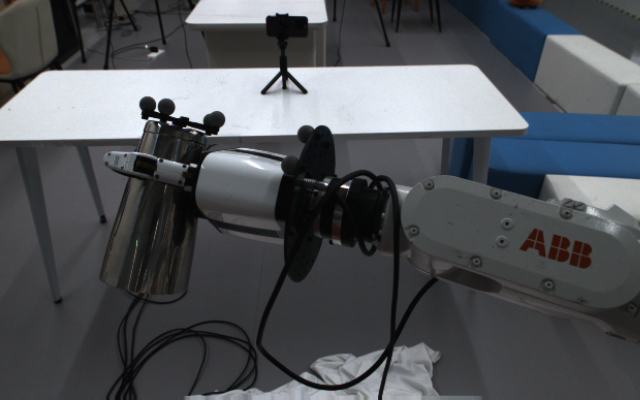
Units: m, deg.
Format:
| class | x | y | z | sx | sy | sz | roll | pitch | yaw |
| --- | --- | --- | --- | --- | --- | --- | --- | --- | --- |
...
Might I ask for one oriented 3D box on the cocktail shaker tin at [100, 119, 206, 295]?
| class | x | y | z | sx | sy | sz | roll | pitch | yaw |
| --- | --- | --- | --- | --- | --- | --- | --- | --- | --- |
| cocktail shaker tin | -0.168 | 0.005 | 0.523 | 0.093 | 0.170 | 0.093 | 12 | 1 | 0 |
